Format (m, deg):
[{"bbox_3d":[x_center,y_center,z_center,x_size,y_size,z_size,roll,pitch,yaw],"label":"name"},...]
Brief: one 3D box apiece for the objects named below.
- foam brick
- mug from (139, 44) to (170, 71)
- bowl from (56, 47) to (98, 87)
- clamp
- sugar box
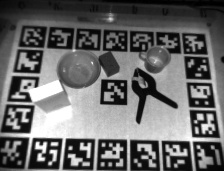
[{"bbox_3d":[-0.016,-0.085,0.840,0.053,0.051,0.077,-25,76,-9],"label":"foam brick"},{"bbox_3d":[0.155,-0.112,0.834,0.117,0.081,0.093,27,73,3],"label":"mug"},{"bbox_3d":[-0.133,-0.065,0.819,0.162,0.055,0.161,1,72,-3],"label":"bowl"},{"bbox_3d":[0.120,0.014,0.811,0.166,0.037,0.202,-21,75,-7],"label":"clamp"},{"bbox_3d":[-0.208,0.041,0.718,0.093,0.176,0.045,-23,76,-10],"label":"sugar box"}]
